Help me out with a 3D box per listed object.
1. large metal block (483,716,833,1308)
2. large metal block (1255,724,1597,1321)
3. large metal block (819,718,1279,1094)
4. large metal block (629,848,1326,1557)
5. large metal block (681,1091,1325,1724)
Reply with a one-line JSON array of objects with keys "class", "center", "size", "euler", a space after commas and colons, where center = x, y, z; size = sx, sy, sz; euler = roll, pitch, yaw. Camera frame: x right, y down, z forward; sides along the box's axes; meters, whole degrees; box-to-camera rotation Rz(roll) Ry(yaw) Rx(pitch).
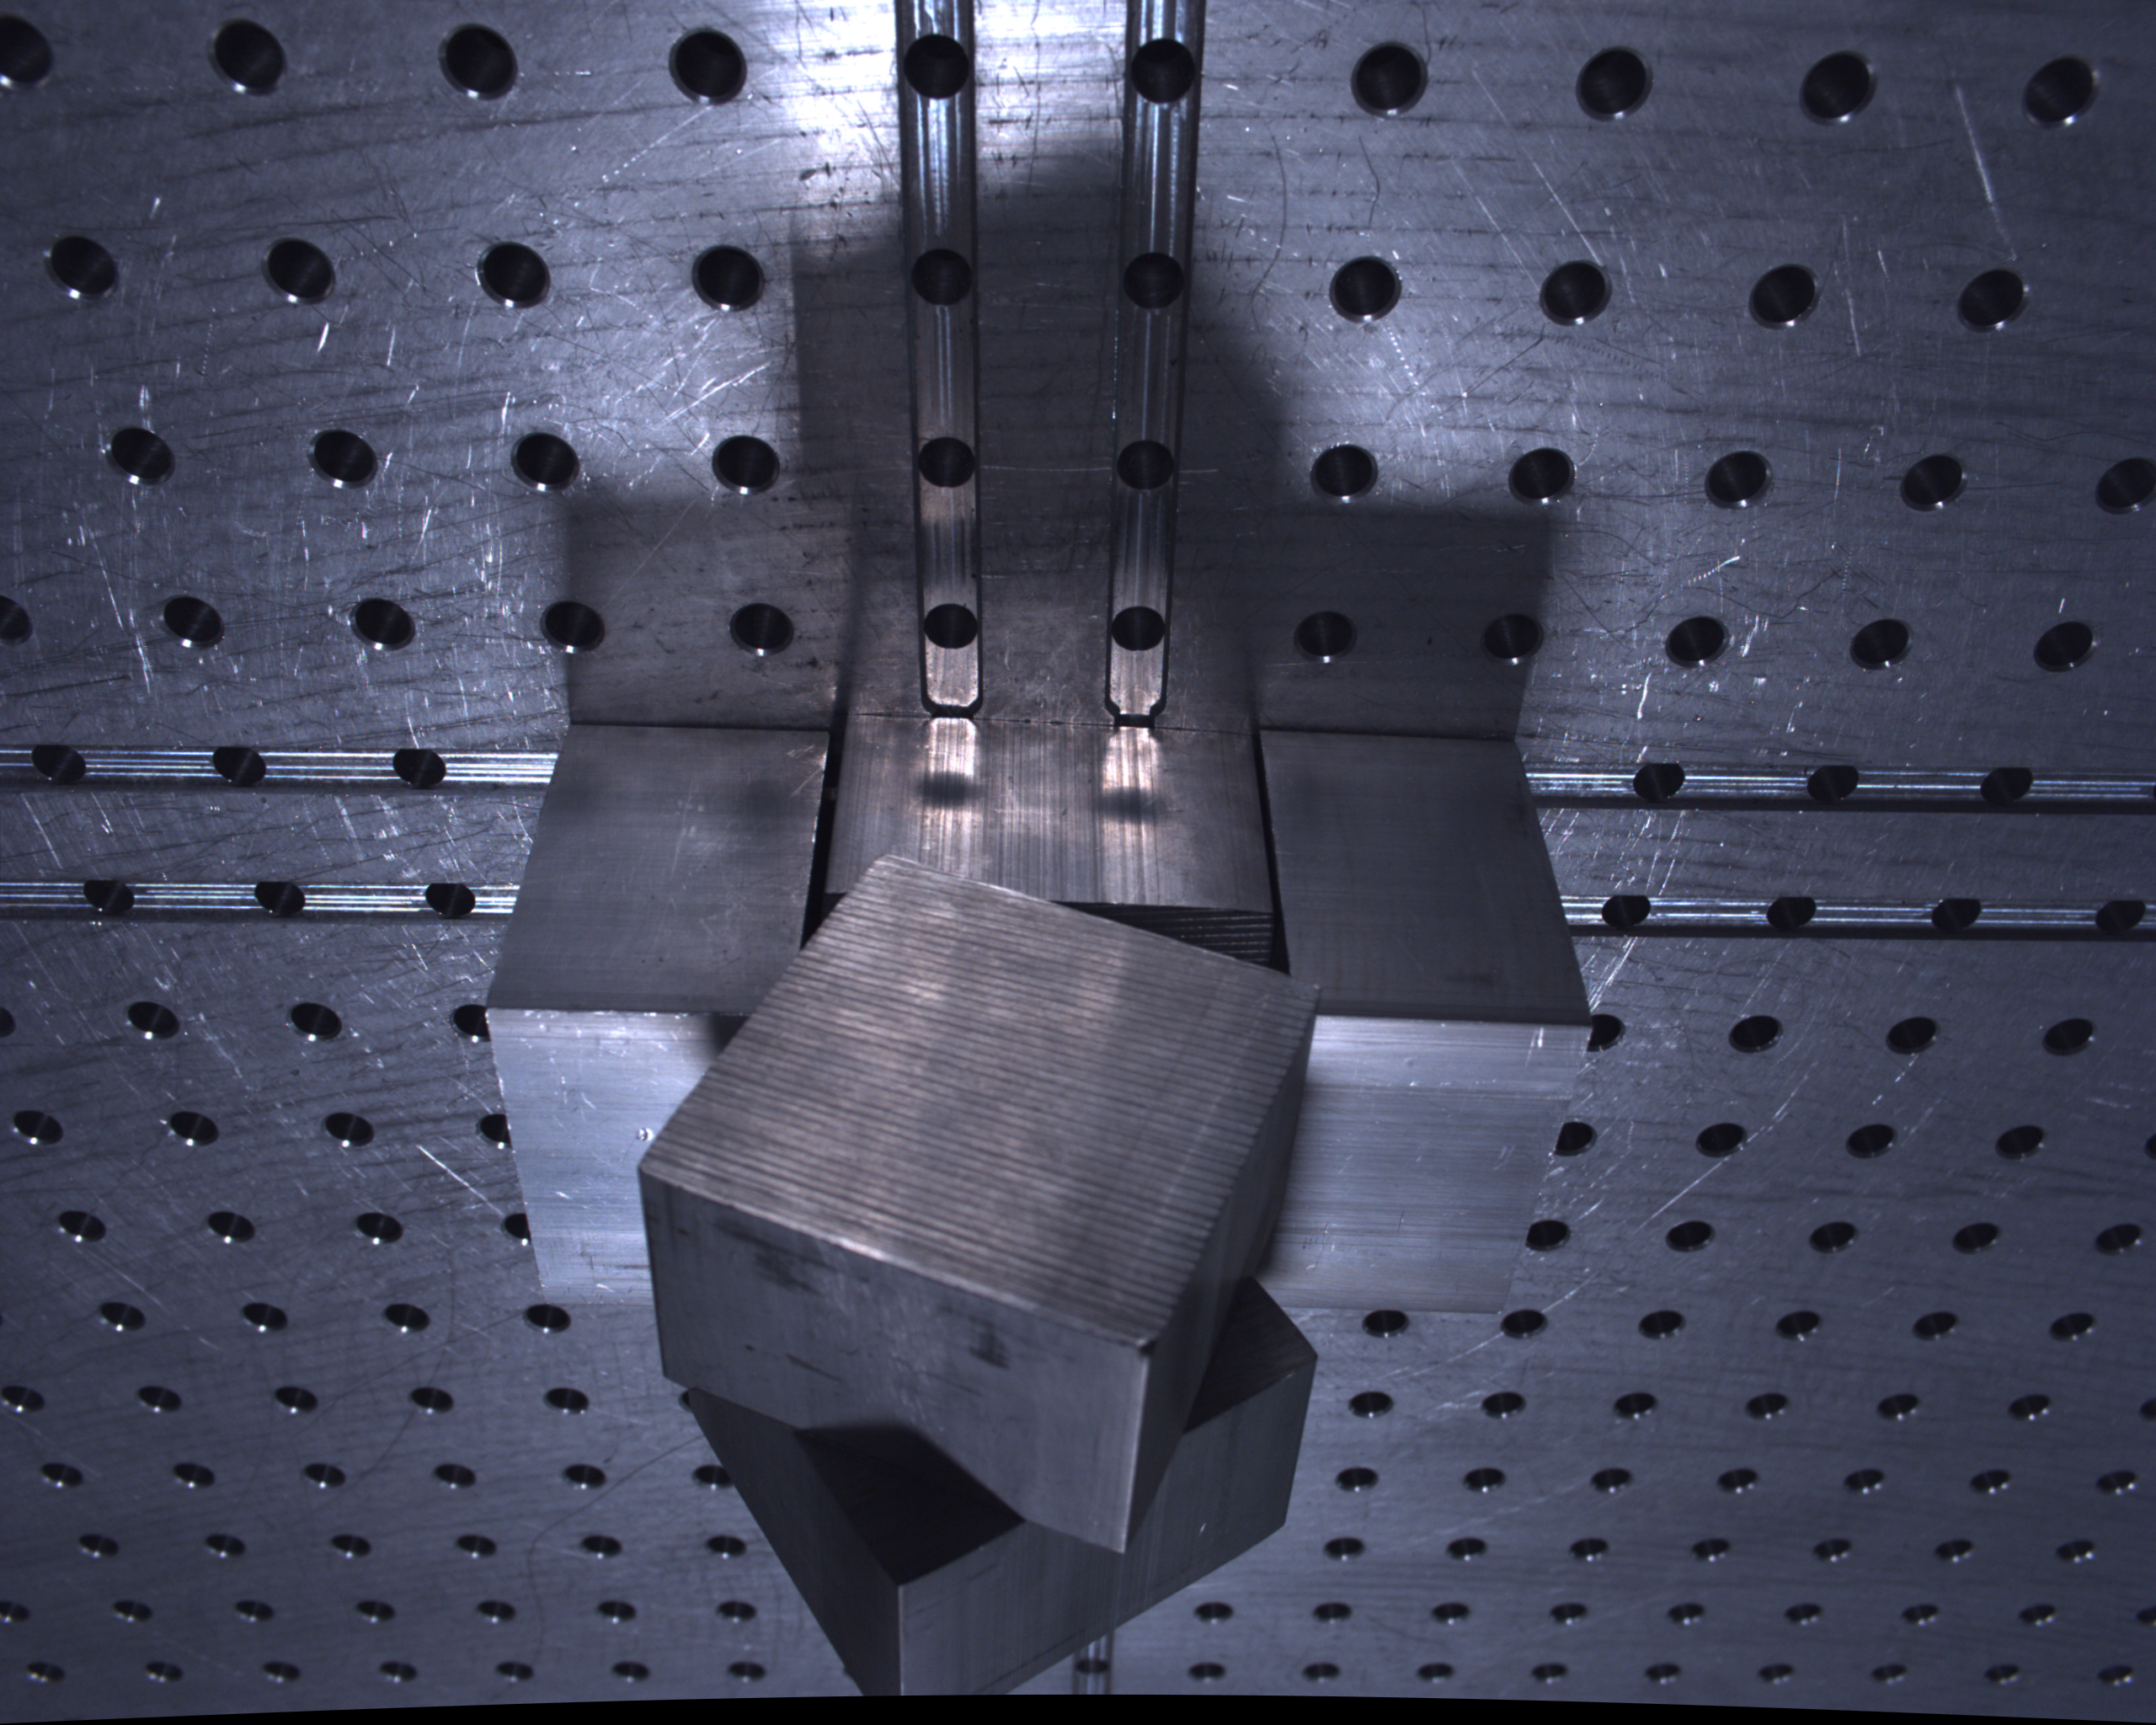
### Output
[{"class": "large metal block", "center": [-0.074, 0.028, 0.399], "size": [0.050, 0.080, 0.079], "euler": [1, 130, -2]}, {"class": "large metal block", "center": [0.058, 0.030, 0.402], "size": [0.050, 0.080, 0.079], "euler": [3, 130, -3]}, {"class": "large metal block", "center": [-0.007, 0.020, 0.409], "size": [0.081, 0.050, 0.079], "euler": [2, 130, -2]}, {"class": "large metal block", "center": [-0.014, 0.051, 0.335], "size": [0.080, 0.080, 0.050], "euler": [17, 131, 15]}, {"class": "large metal block", "center": [-0.016, 0.091, 0.365], "size": [0.081, 0.080, 0.050], "euler": [-21, 136, -27]}]
